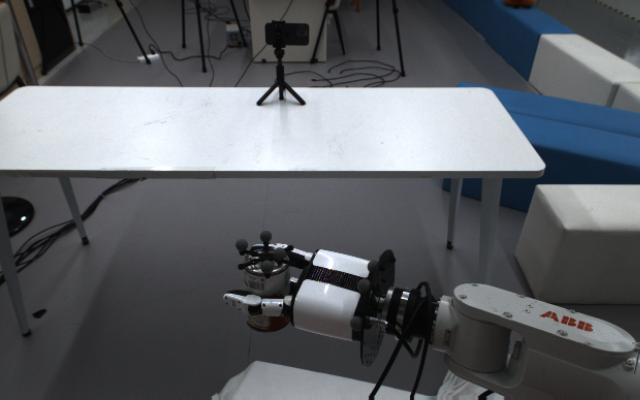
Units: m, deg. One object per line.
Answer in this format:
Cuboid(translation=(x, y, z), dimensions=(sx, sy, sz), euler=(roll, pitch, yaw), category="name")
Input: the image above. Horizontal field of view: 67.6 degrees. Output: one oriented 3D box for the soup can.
Cuboid(translation=(-0.074, 0.131, 0.700), dimensions=(0.067, 0.101, 0.067), euler=(1, 25, 0), category="soup can")
